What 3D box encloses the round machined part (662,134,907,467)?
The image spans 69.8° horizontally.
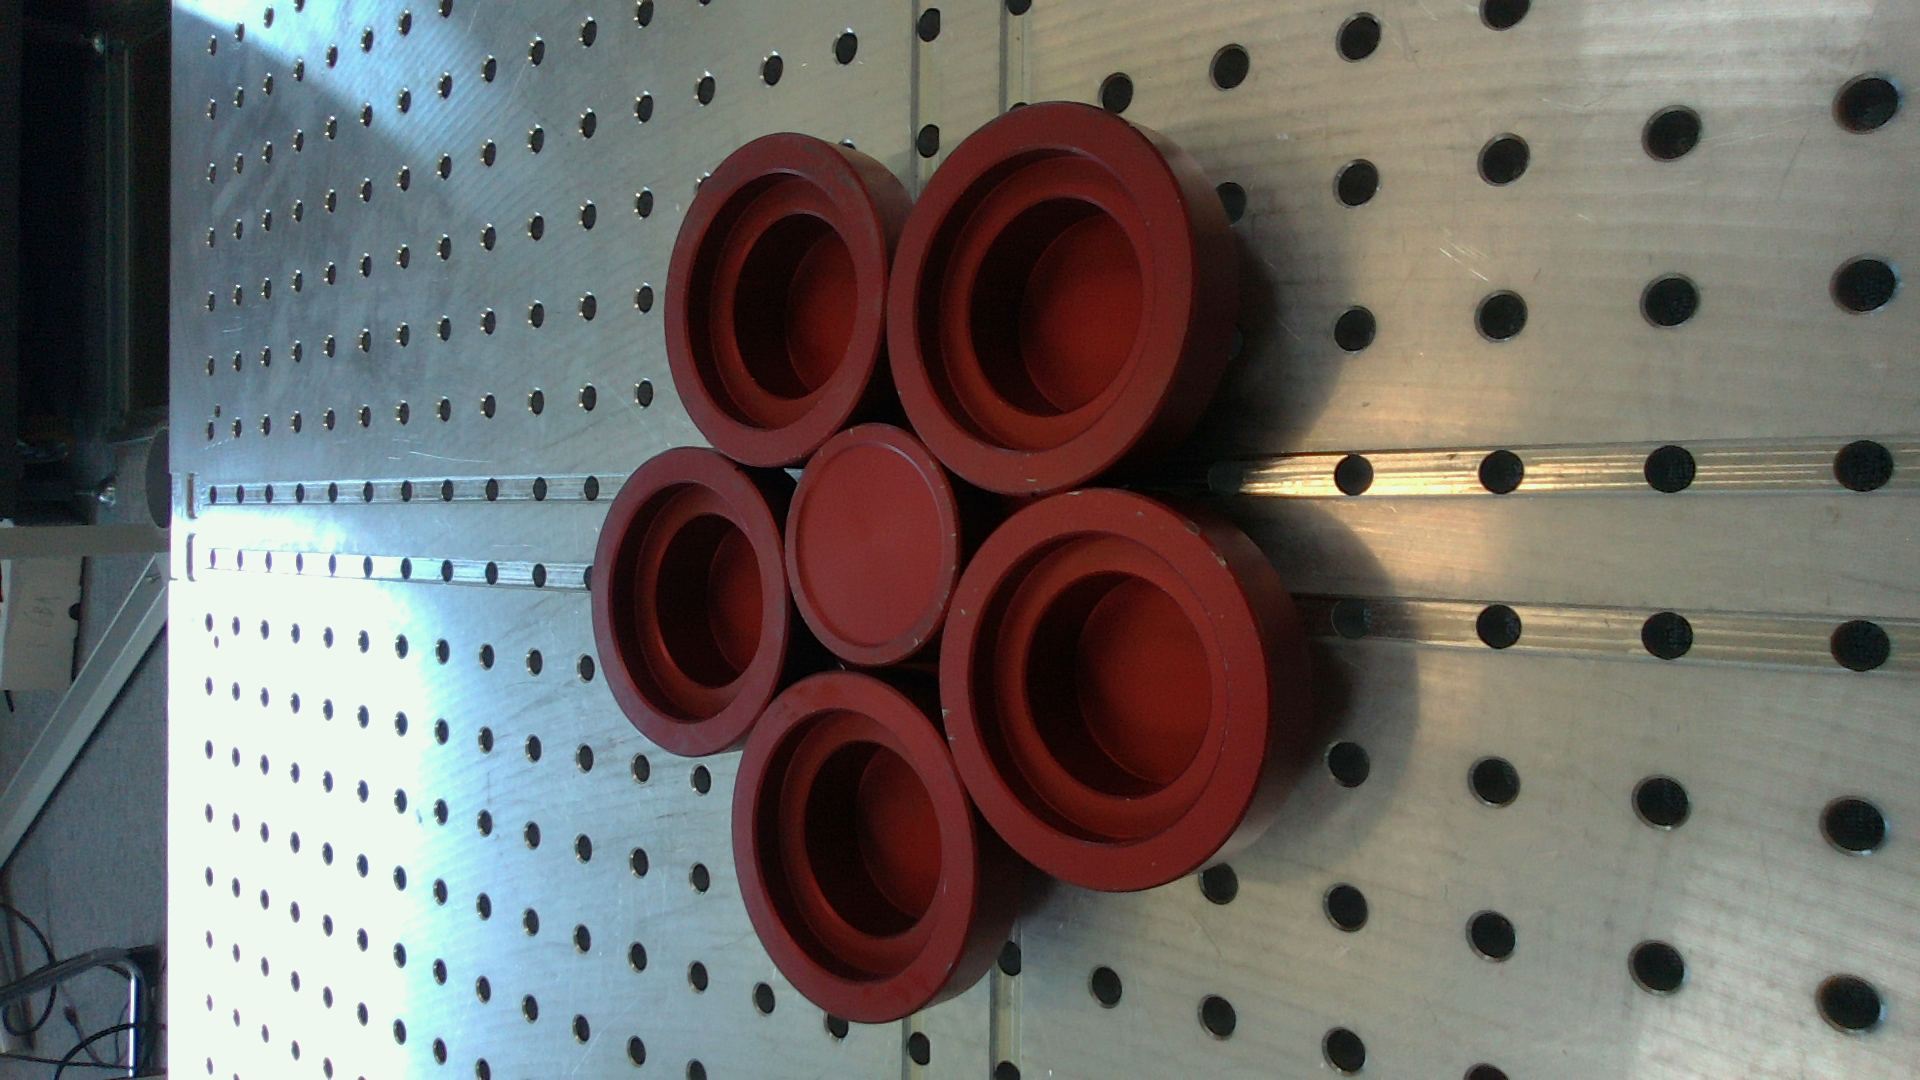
[{"bbox_3d":[-0.045,-0.071,0.424,0.098,0.042,0.098,0,90,40],"label":"round machined part"}]

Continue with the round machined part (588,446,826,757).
[{"bbox_3d":[-0.075,0.019,0.450,0.098,0.042,0.098,0,90,40],"label":"round machined part"}]

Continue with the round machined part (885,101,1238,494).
[{"bbox_3d":[0.030,-0.061,0.361,0.098,0.042,0.098,0,90,40],"label":"round machined part"}]

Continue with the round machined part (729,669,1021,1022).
[{"bbox_3d":[-0.020,0.086,0.403,0.098,0.042,0.098,0,90,40],"label":"round machined part"}]

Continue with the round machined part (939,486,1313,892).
[{"bbox_3d":[0.045,0.036,0.349,0.098,0.042,0.098,0,90,40],"label":"round machined part"}]

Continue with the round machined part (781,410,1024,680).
[{"bbox_3d":[-0.014,0.001,0.398,0.098,0.042,0.098,0,90,40],"label":"round machined part"}]
